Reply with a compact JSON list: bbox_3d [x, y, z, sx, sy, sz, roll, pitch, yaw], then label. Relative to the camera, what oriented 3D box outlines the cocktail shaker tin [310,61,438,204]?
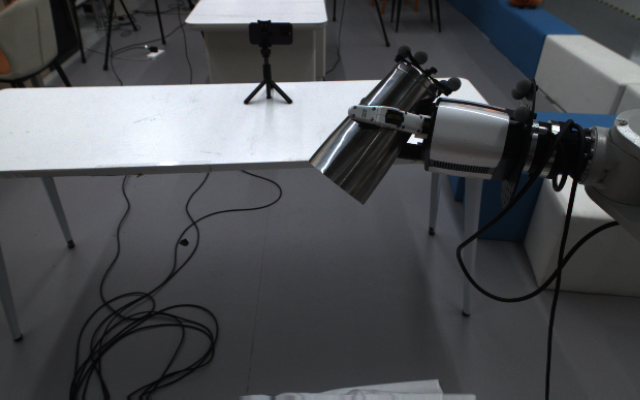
[{"bbox_3d":[0.074,-0.092,0.621,0.170,0.093,0.093,-50,46,4],"label":"cocktail shaker tin"}]
